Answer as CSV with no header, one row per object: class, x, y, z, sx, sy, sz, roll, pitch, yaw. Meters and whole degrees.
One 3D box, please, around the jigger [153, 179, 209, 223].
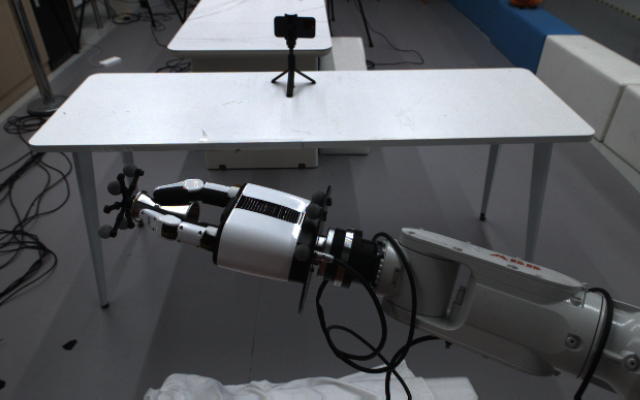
jigger,-0.179,0.014,0.583,0.071,0.043,0.043,14,36,4
